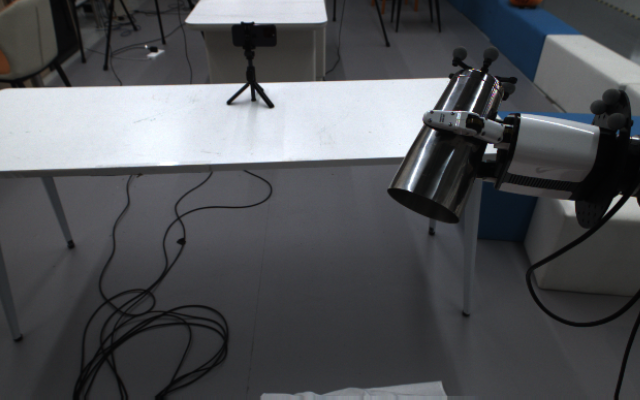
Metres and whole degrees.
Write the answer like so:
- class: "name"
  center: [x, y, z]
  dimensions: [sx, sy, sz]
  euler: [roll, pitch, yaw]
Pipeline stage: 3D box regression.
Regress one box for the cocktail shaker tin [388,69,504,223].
- class: "cocktail shaker tin"
  center: [0.161, -0.071, 0.585]
  dimensions: [0.093, 0.093, 0.170]
  euler: [22, 81, 26]
